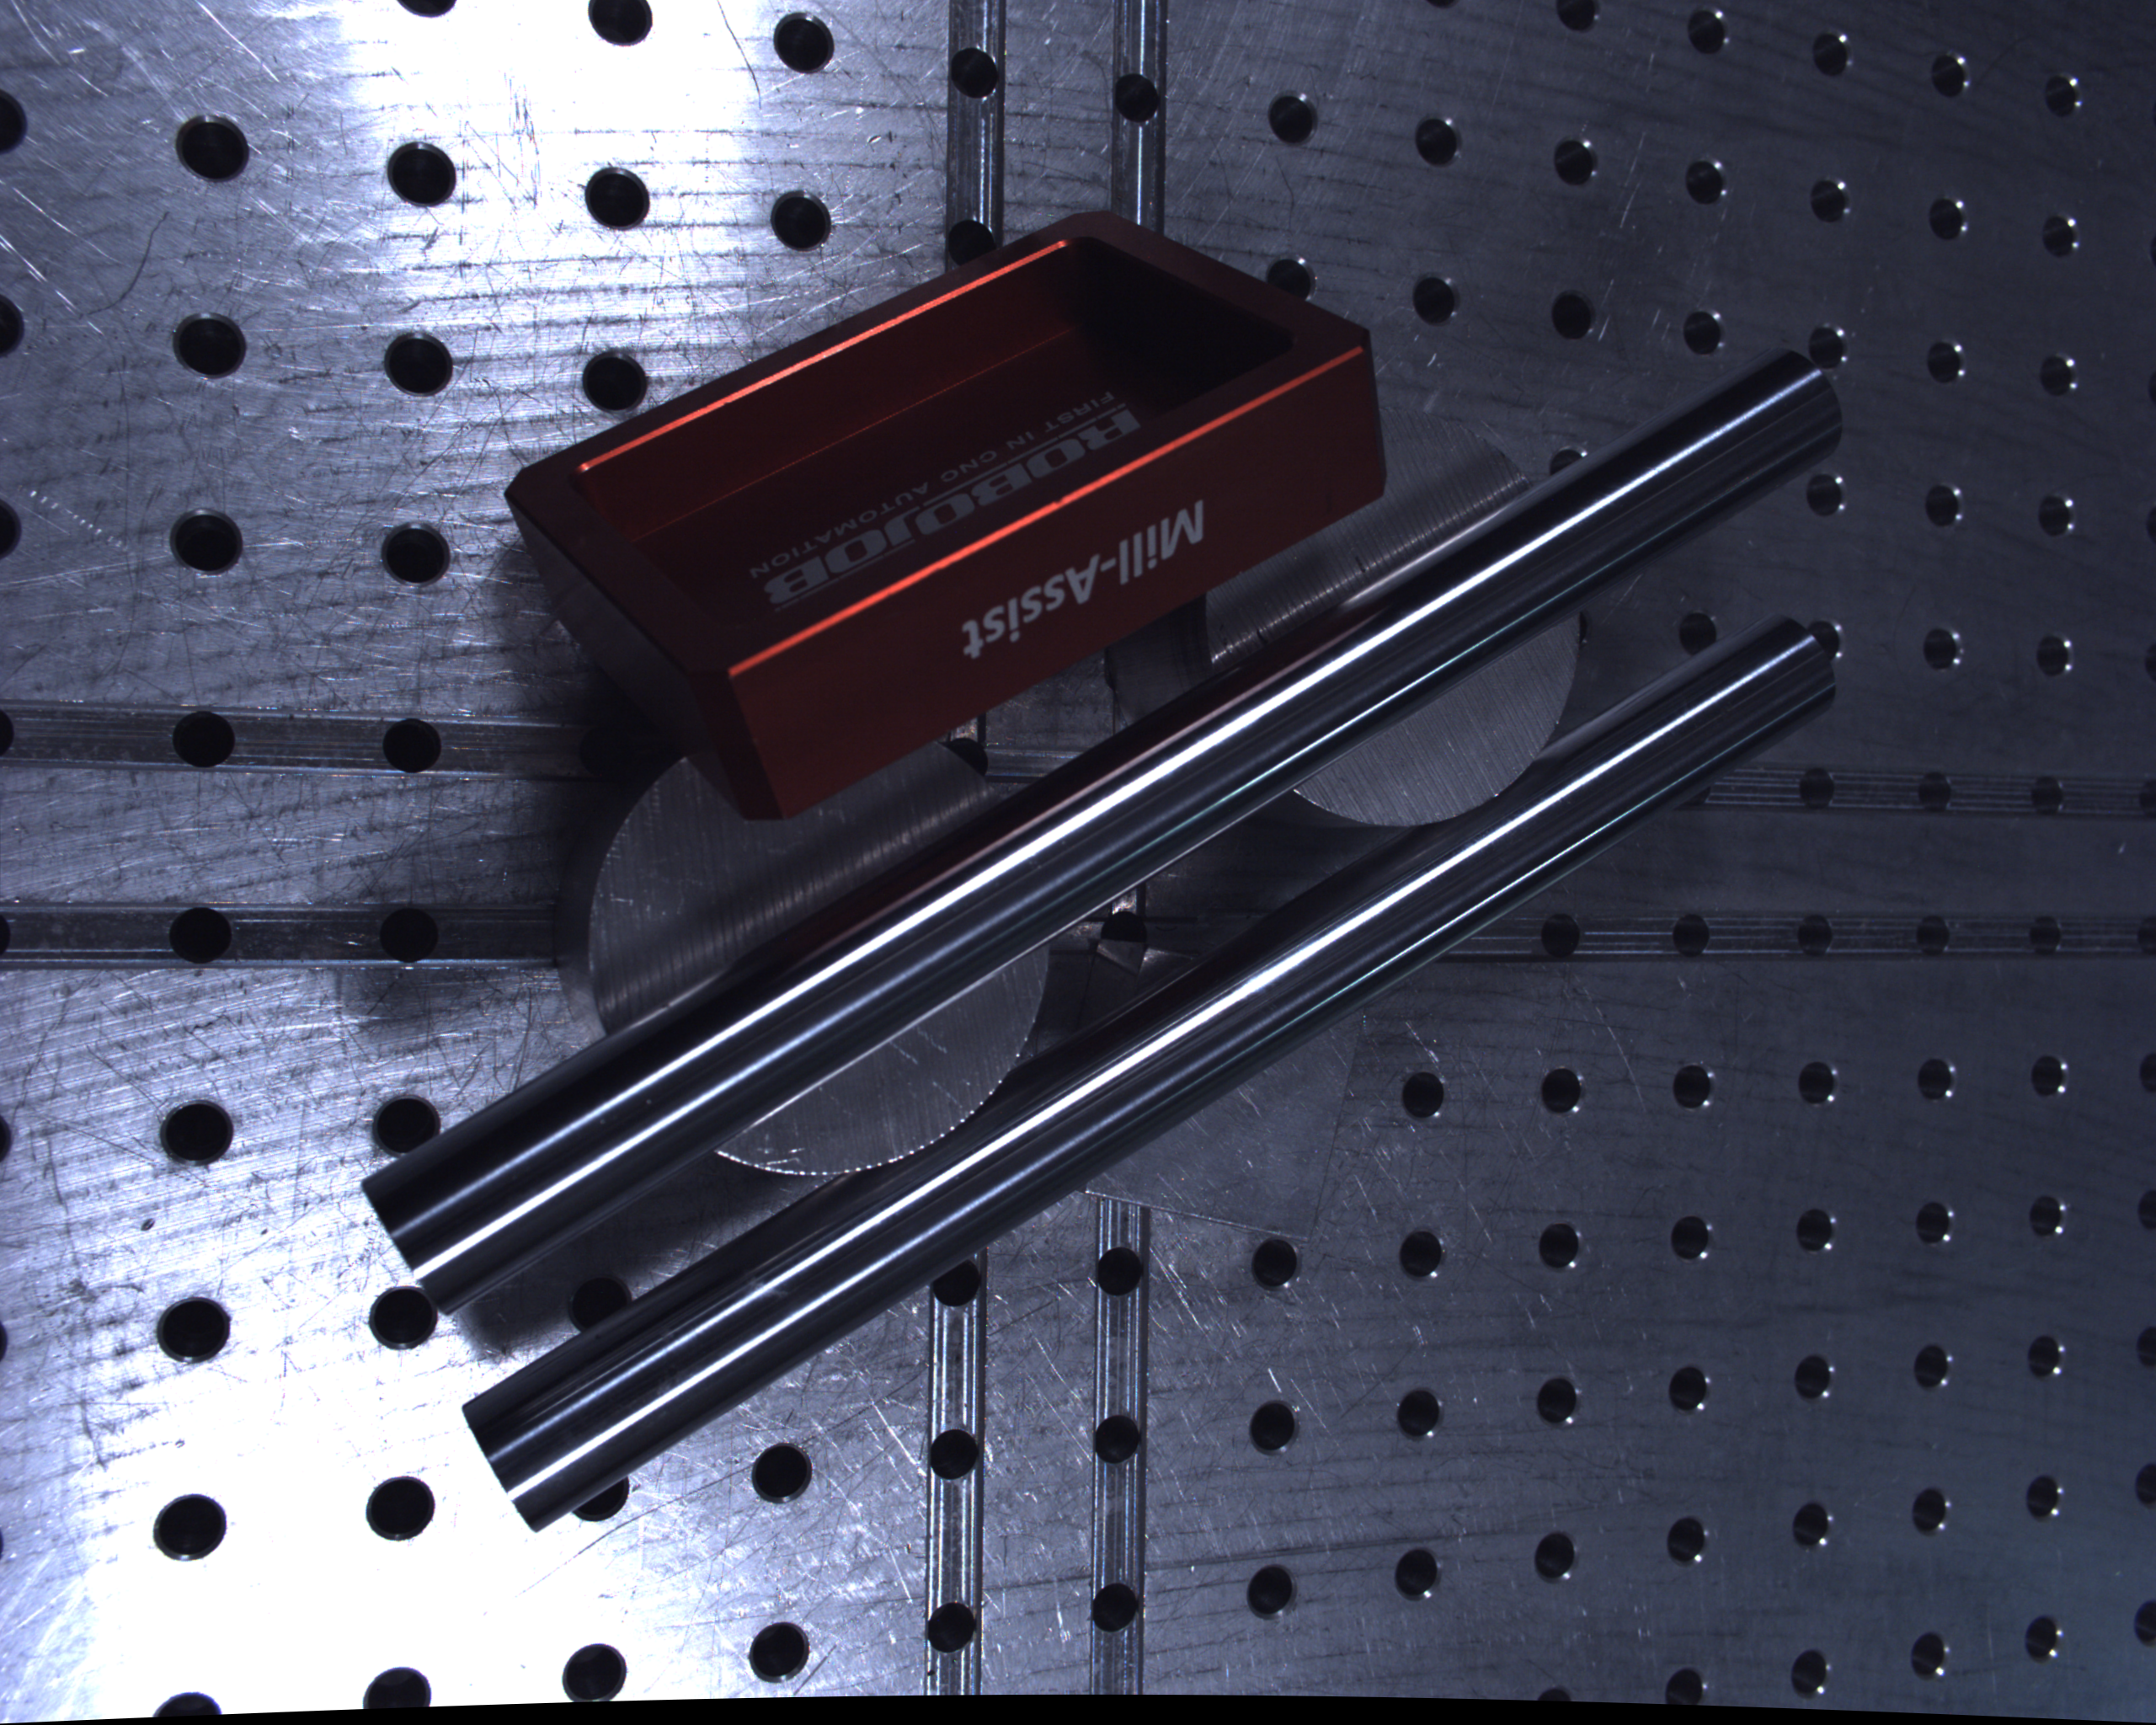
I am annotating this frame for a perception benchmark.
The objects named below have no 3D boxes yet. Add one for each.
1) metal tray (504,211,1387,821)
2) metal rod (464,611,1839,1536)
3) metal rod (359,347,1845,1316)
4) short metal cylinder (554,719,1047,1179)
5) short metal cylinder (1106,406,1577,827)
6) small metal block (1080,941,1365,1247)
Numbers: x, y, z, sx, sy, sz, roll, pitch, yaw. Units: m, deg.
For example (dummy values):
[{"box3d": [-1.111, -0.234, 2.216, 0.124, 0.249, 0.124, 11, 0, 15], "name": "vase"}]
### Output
[{"box3d": [-0.023, -0.067, 0.369, 0.131, 0.090, 0.030, -30, 132, -18], "name": "metal tray"}, {"box3d": [0.028, 0.030, 0.396, 0.302, 0.025, 0.025, -30, 100, -18], "name": "metal rod"}, {"box3d": [0.019, -0.016, 0.366, 0.302, 0.025, 0.025, -31, 101, -18], "name": "metal rod"}, {"box3d": [-0.052, 0.014, 0.381, 0.081, 0.050, 0.079, 0, 90, -21], "name": "short metal cylinder"}, {"box3d": [0.052, -0.047, 0.420, 0.081, 0.050, 0.079, 0, 90, -21], "name": "short metal cylinder"}, {"box3d": [0.026, 0.047, 0.422, 0.050, 0.025, 0.050, 16, 85, -20], "name": "small metal block"}]
